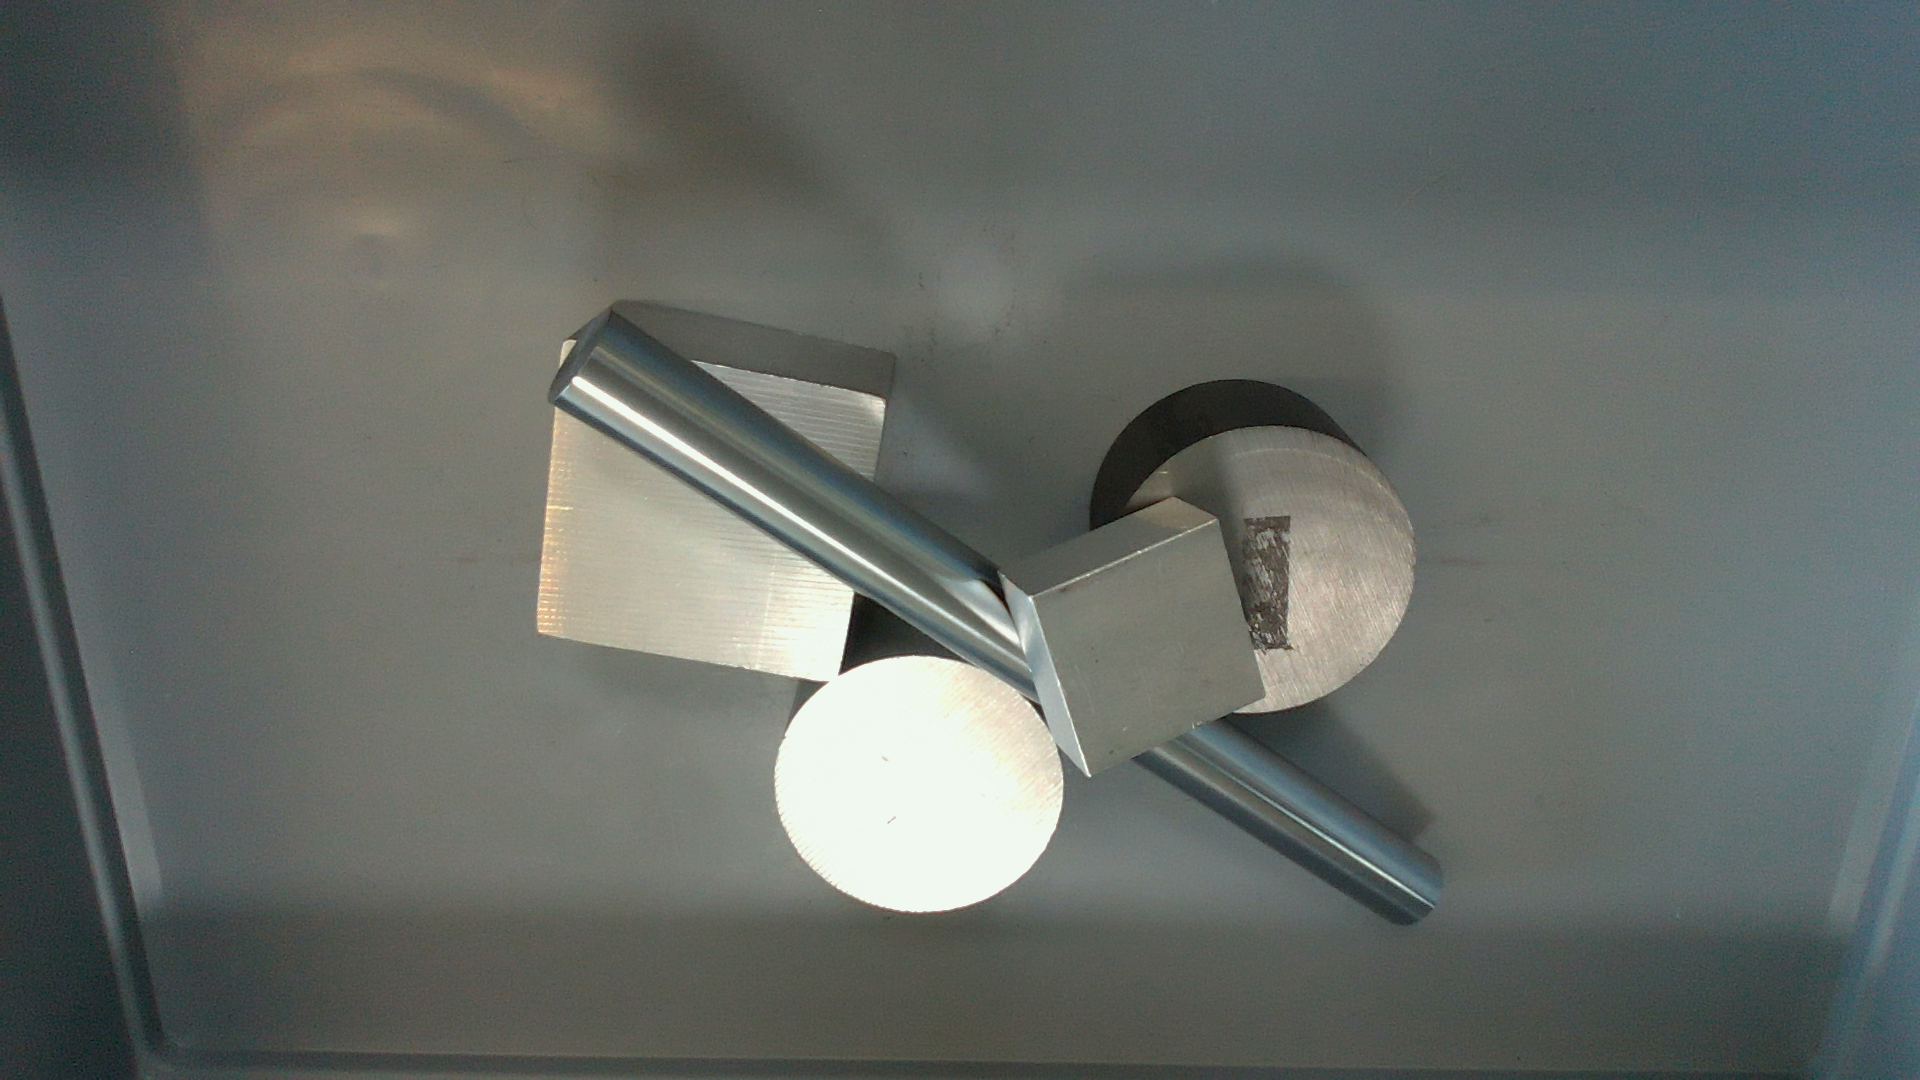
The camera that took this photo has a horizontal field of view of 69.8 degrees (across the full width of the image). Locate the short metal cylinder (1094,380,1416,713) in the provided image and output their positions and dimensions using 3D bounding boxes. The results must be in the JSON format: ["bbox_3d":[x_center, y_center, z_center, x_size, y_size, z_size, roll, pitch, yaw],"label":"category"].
[{"bbox_3d":[0.078,0.000,0.380,0.080,0.050,0.080,0,110,0],"label":"short metal cylinder"}]

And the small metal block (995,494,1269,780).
[{"bbox_3d":[0.043,0.023,0.341,0.050,0.025,0.050,-23,109,-11],"label":"small metal block"}]

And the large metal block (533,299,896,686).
[{"bbox_3d":[-0.065,-0.014,0.372,0.080,0.050,0.080,10,110,-4],"label":"large metal block"}]

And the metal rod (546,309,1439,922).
[{"bbox_3d":[0.028,0.034,0.368,0.301,0.025,0.025,34,107,-26],"label":"metal rod"}]

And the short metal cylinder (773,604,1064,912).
[{"bbox_3d":[-0.011,0.060,0.401,0.080,0.050,0.080,0,110,0],"label":"short metal cylinder"}]
